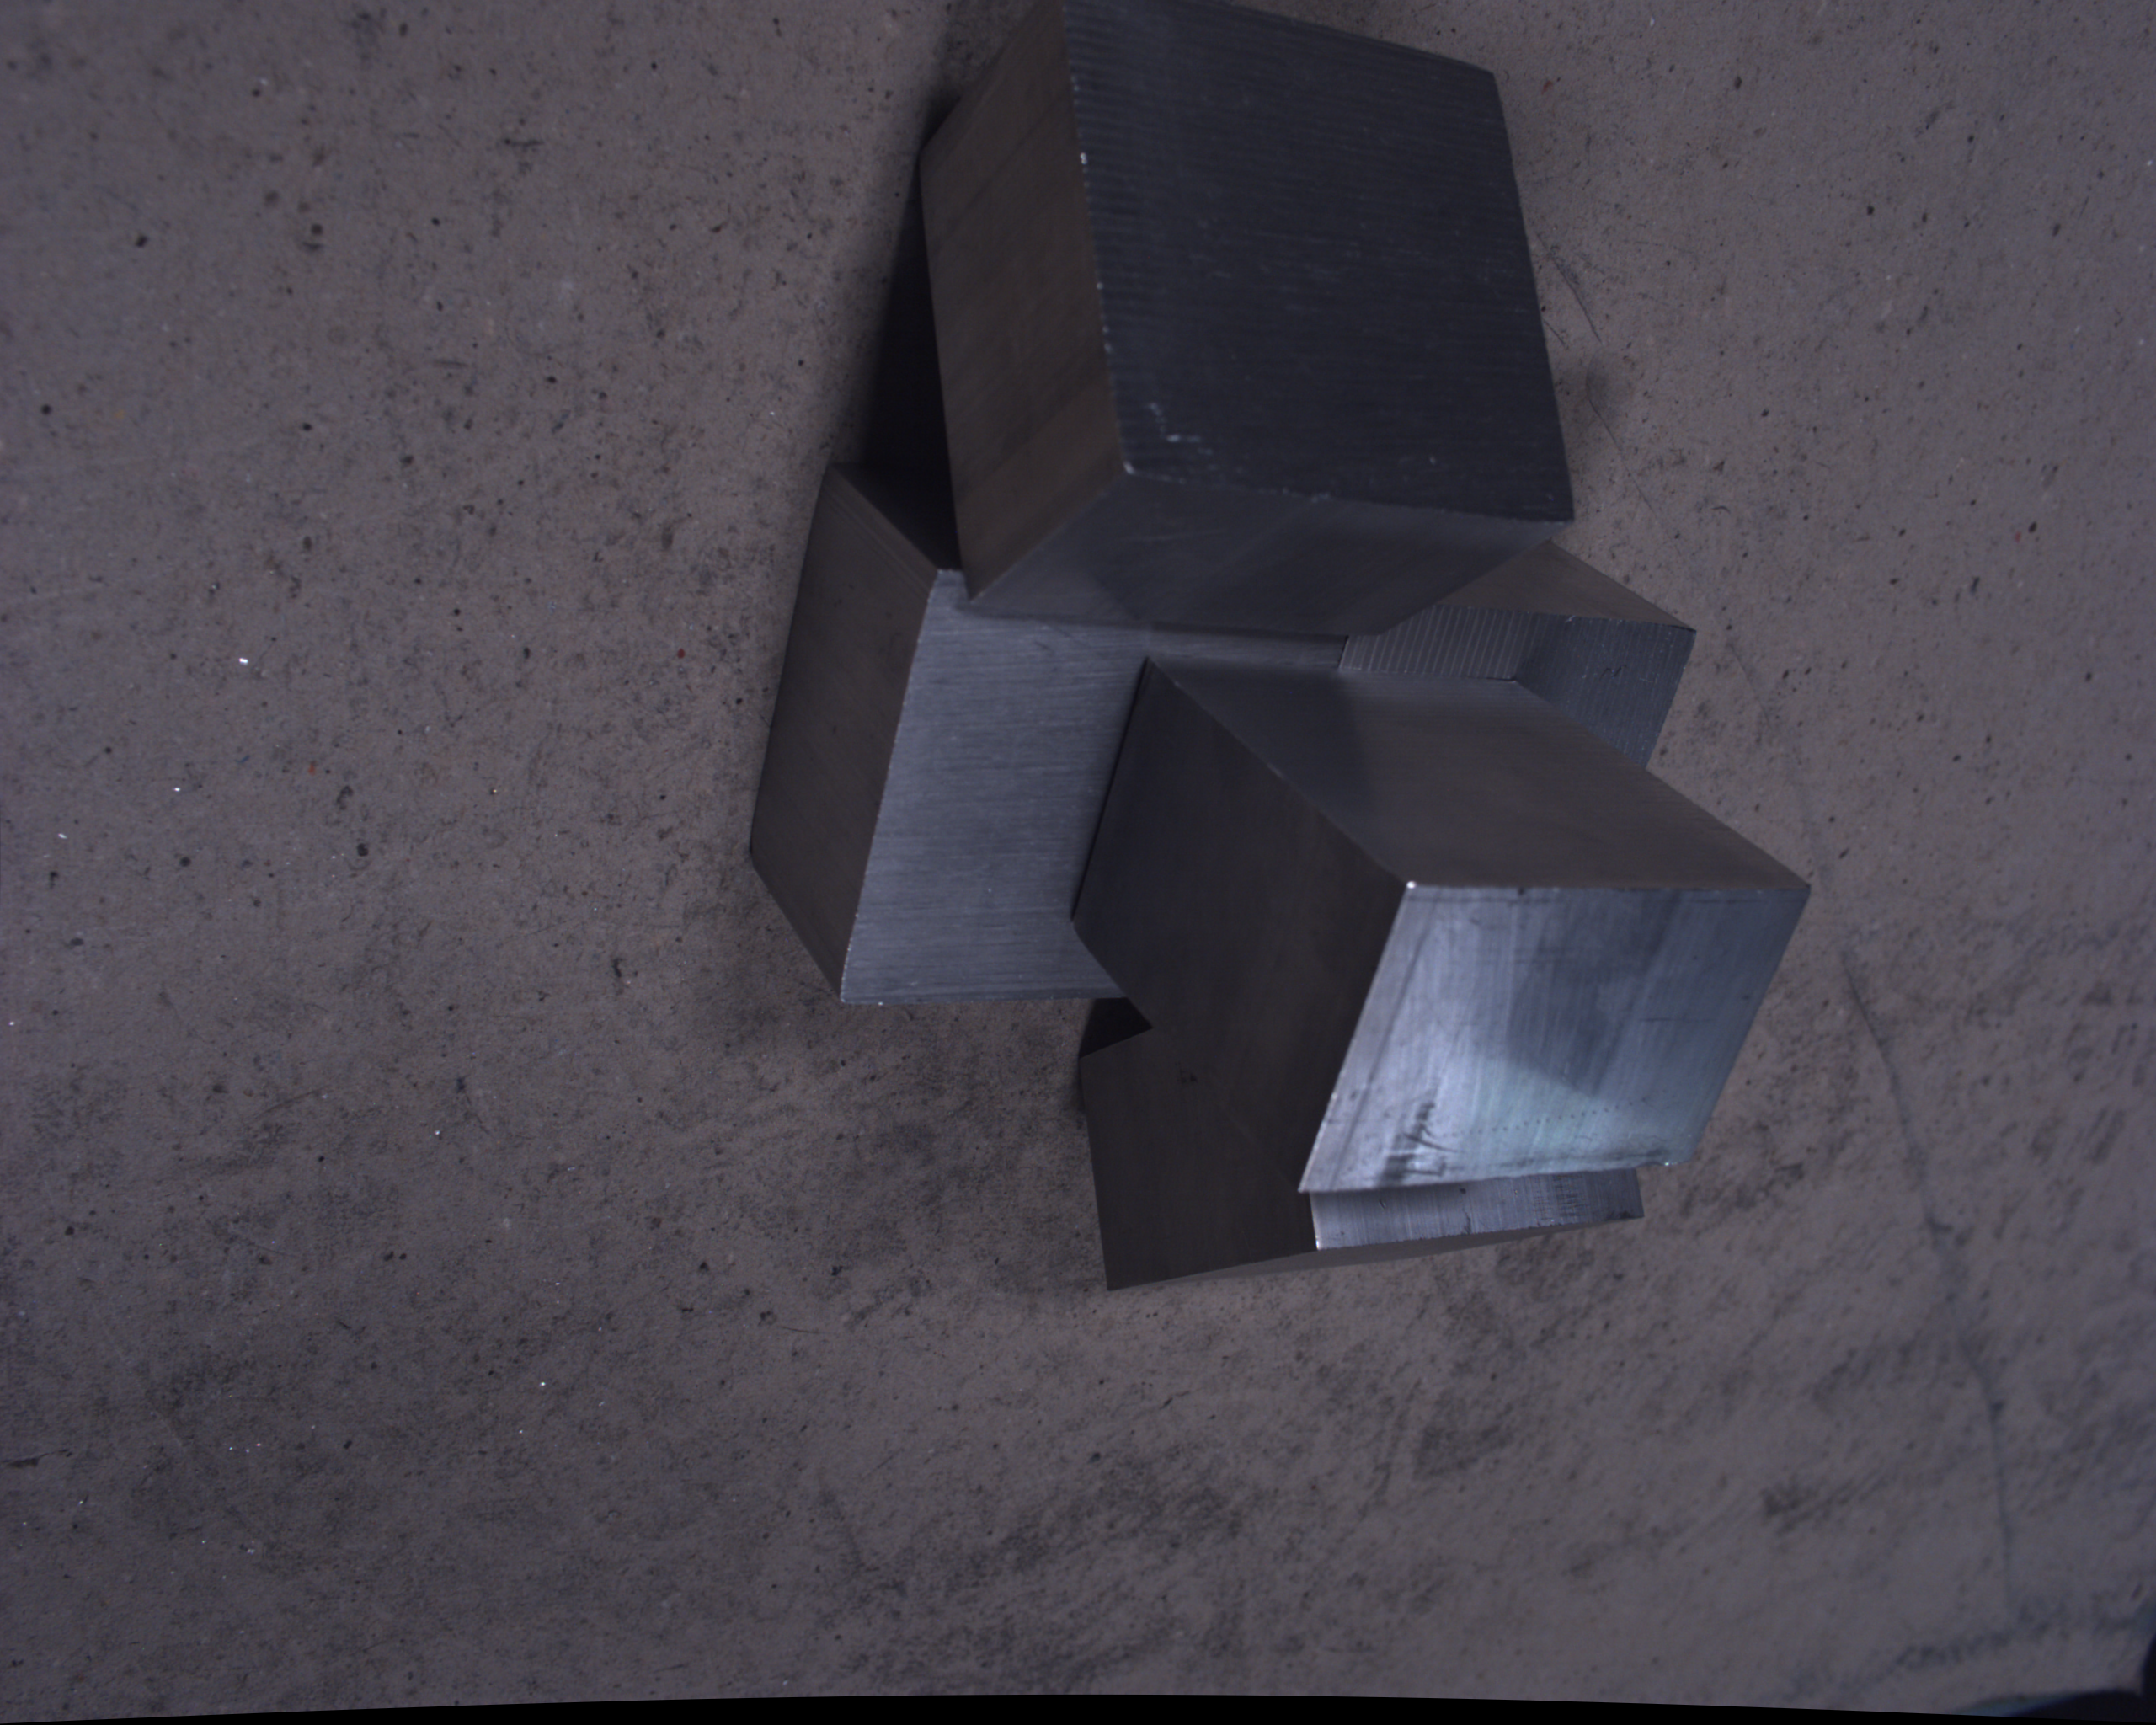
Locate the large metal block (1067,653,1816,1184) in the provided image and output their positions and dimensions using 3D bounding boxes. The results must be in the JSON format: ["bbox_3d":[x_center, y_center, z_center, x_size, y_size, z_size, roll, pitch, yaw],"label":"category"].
[{"bbox_3d":[0.056,0.007,0.345,0.081,0.080,0.050,1,118,-29],"label":"large metal block"}]

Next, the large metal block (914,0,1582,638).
[{"bbox_3d":[0.025,-0.084,0.328,0.081,0.050,0.080,1,74,-29],"label":"large metal block"}]

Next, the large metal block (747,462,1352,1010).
[{"bbox_3d":[-0.007,-0.022,0.374,0.081,0.050,0.079,1,118,-29],"label":"large metal block"}]

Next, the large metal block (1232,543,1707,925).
[{"bbox_3d":[0.065,-0.022,0.414,0.081,0.050,0.079,1,118,-29],"label":"large metal block"}]

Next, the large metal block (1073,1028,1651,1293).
[{"bbox_3d":[0.056,0.057,0.432,0.081,0.080,0.050,0,75,-29],"label":"large metal block"}]
